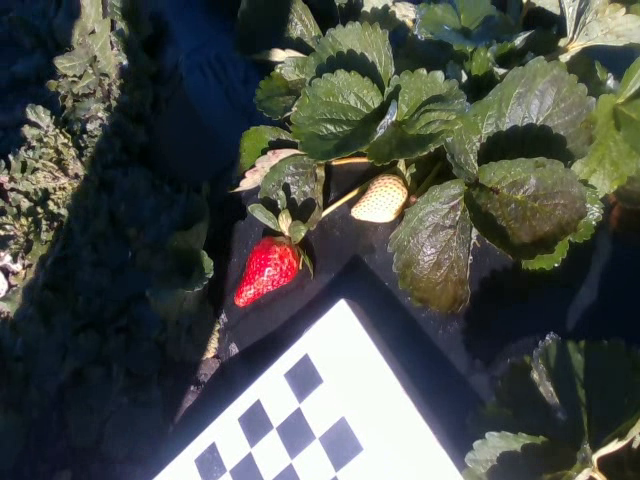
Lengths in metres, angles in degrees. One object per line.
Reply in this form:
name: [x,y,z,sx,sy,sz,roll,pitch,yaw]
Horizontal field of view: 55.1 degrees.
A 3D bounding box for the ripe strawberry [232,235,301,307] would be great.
ripe strawberry: [-0.042,0.024,0.435,0.048,0.069,0.040,34,1,38]
